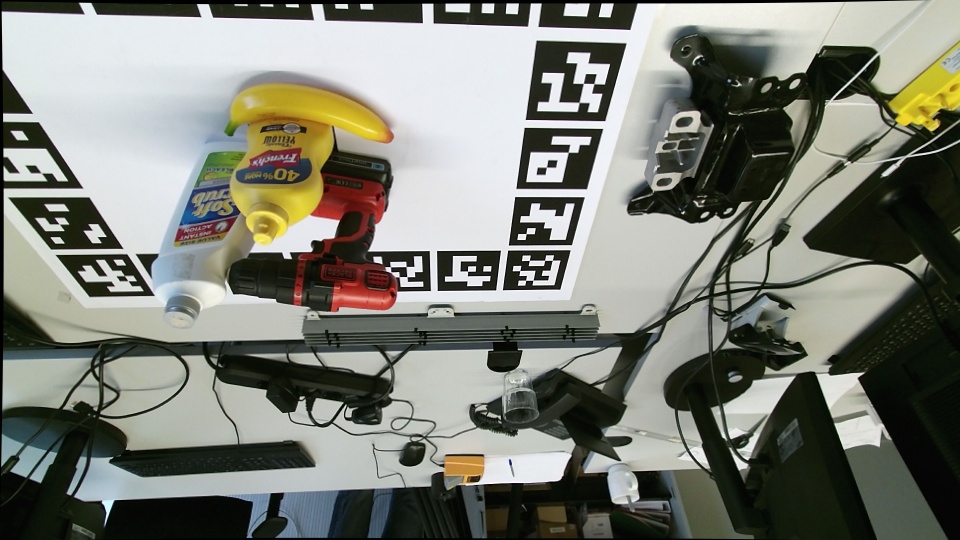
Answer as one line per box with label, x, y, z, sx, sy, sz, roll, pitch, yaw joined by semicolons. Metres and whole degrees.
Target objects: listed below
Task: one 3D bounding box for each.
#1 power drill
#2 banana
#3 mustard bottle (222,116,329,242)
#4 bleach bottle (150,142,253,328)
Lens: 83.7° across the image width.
power drill;-0.191;-0.038;0.634;0.185;0.186;0.057;8;136;-12
banana;-0.213;-0.183;0.632;0.198;0.038;0.074;1;135;-10
mustard bottle;-0.229;-0.101;0.593;0.096;0.190;0.058;0;136;-4
bleach bottle;-0.301;-0.043;0.614;0.103;0.249;0.068;1;142;-7
